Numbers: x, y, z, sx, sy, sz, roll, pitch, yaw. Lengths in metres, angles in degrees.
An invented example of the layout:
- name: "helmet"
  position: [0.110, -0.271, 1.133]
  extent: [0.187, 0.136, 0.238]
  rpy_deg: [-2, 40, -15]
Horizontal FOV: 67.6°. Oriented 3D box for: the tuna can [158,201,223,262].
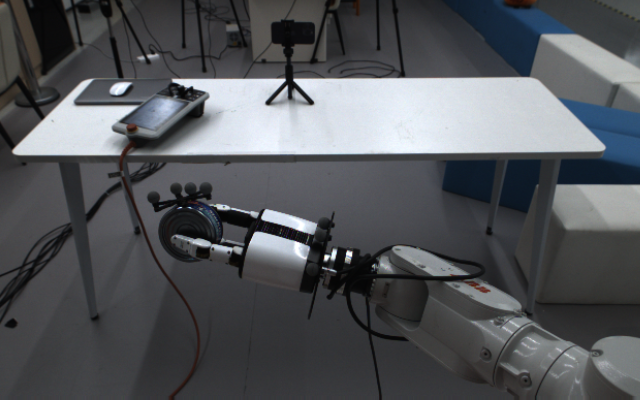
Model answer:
- name: "tuna can"
  position: [-0.184, 0.046, 0.692]
  extent: [0.085, 0.085, 0.034]
  rpy_deg: [6, 18, 5]
